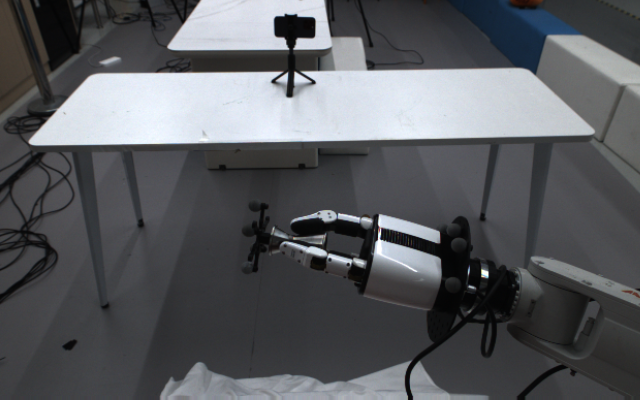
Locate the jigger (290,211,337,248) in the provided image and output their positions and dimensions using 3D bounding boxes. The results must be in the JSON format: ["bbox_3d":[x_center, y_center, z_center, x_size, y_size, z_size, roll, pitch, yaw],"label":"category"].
[{"bbox_3d":[-0.020,0.053,0.612,0.071,0.043,0.043,8,35,5],"label":"jigger"}]
